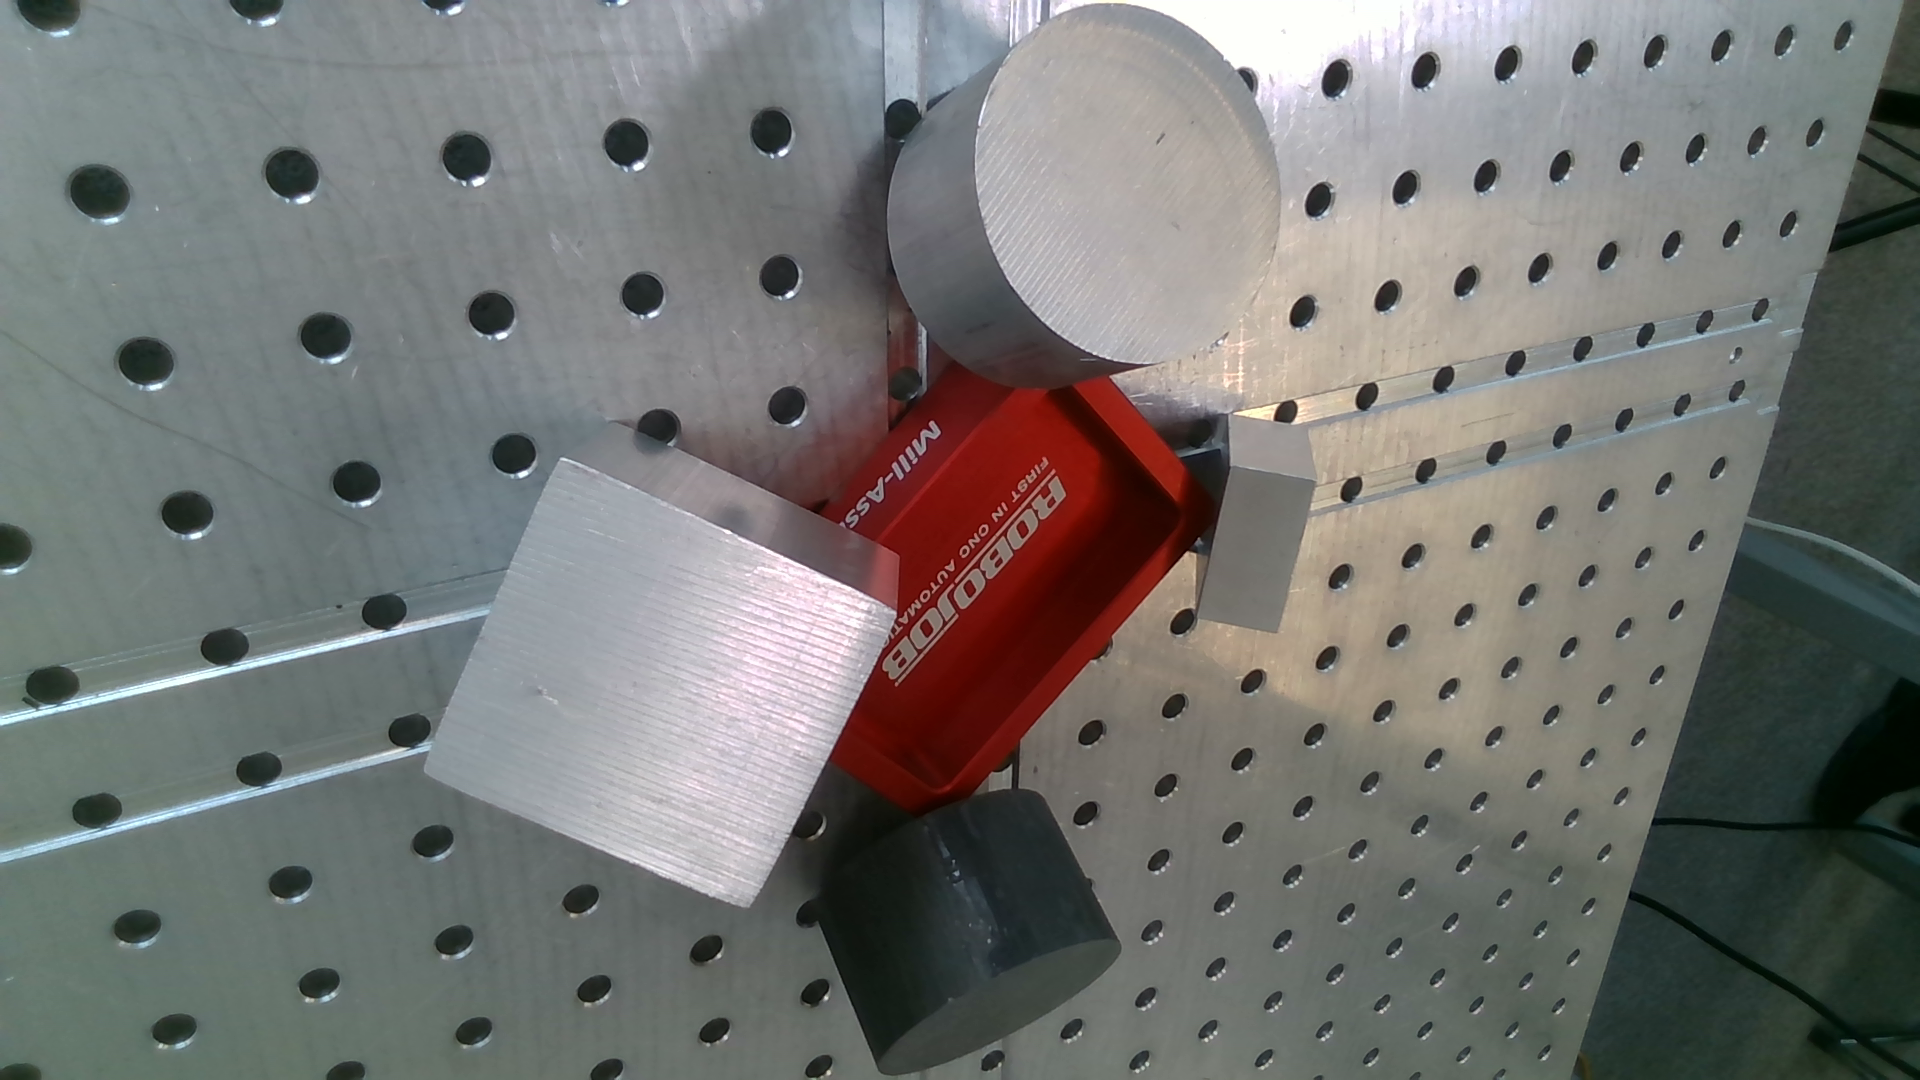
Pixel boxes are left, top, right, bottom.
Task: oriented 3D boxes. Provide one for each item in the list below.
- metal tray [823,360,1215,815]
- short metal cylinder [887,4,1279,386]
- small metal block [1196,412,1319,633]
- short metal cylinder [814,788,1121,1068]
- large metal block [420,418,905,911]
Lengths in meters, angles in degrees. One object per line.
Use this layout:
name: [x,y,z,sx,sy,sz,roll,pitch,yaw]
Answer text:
metal tray: [0.004,0.010,0.397,0.130,0.030,0.090,-49,129,0]
short metal cylinder: [0.029,-0.080,0.332,0.080,0.050,0.080,0,90,-25]
small metal block: [0.090,-0.007,0.425,0.025,0.050,0.050,11,114,5]
short metal cylinder: [0.002,0.120,0.423,0.080,0.050,0.080,-21,150,-13]
large metal block: [-0.067,0.027,0.328,0.080,0.050,0.080,26,101,-7]
